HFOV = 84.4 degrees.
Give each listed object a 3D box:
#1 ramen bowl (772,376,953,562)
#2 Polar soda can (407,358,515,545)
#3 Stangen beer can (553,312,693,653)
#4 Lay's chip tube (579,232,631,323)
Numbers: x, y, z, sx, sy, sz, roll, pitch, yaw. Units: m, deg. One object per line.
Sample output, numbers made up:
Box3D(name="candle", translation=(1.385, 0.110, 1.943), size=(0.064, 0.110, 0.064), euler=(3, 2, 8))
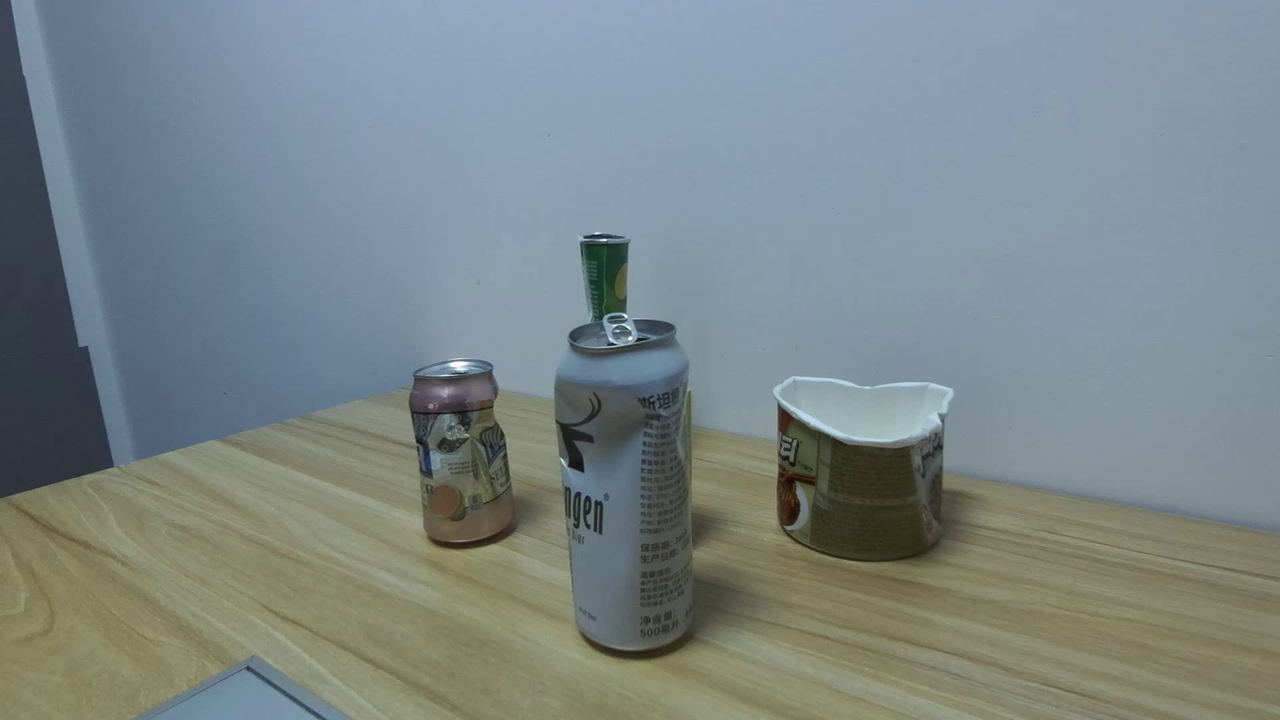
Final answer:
Box3D(name="ramen bowl", translation=(0.148, 0.071, 0.479), size=(0.113, 0.097, 0.134), euler=(3, 14, 20))
Box3D(name="Polar soda can", translation=(-0.128, 0.066, 0.504), size=(0.067, 0.122, 0.074), euler=(5, 12, 43))
Box3D(name="Stangen beer can", translation=(-0.007, 0.064, 0.369), size=(0.070, 0.173, 0.070), euler=(-3, 14, -4))
Box3D(name="Lay's chip tube", translation=(-0.026, -0.005, 0.608), size=(0.074, 0.199, 0.069), euler=(10, 19, 41))
